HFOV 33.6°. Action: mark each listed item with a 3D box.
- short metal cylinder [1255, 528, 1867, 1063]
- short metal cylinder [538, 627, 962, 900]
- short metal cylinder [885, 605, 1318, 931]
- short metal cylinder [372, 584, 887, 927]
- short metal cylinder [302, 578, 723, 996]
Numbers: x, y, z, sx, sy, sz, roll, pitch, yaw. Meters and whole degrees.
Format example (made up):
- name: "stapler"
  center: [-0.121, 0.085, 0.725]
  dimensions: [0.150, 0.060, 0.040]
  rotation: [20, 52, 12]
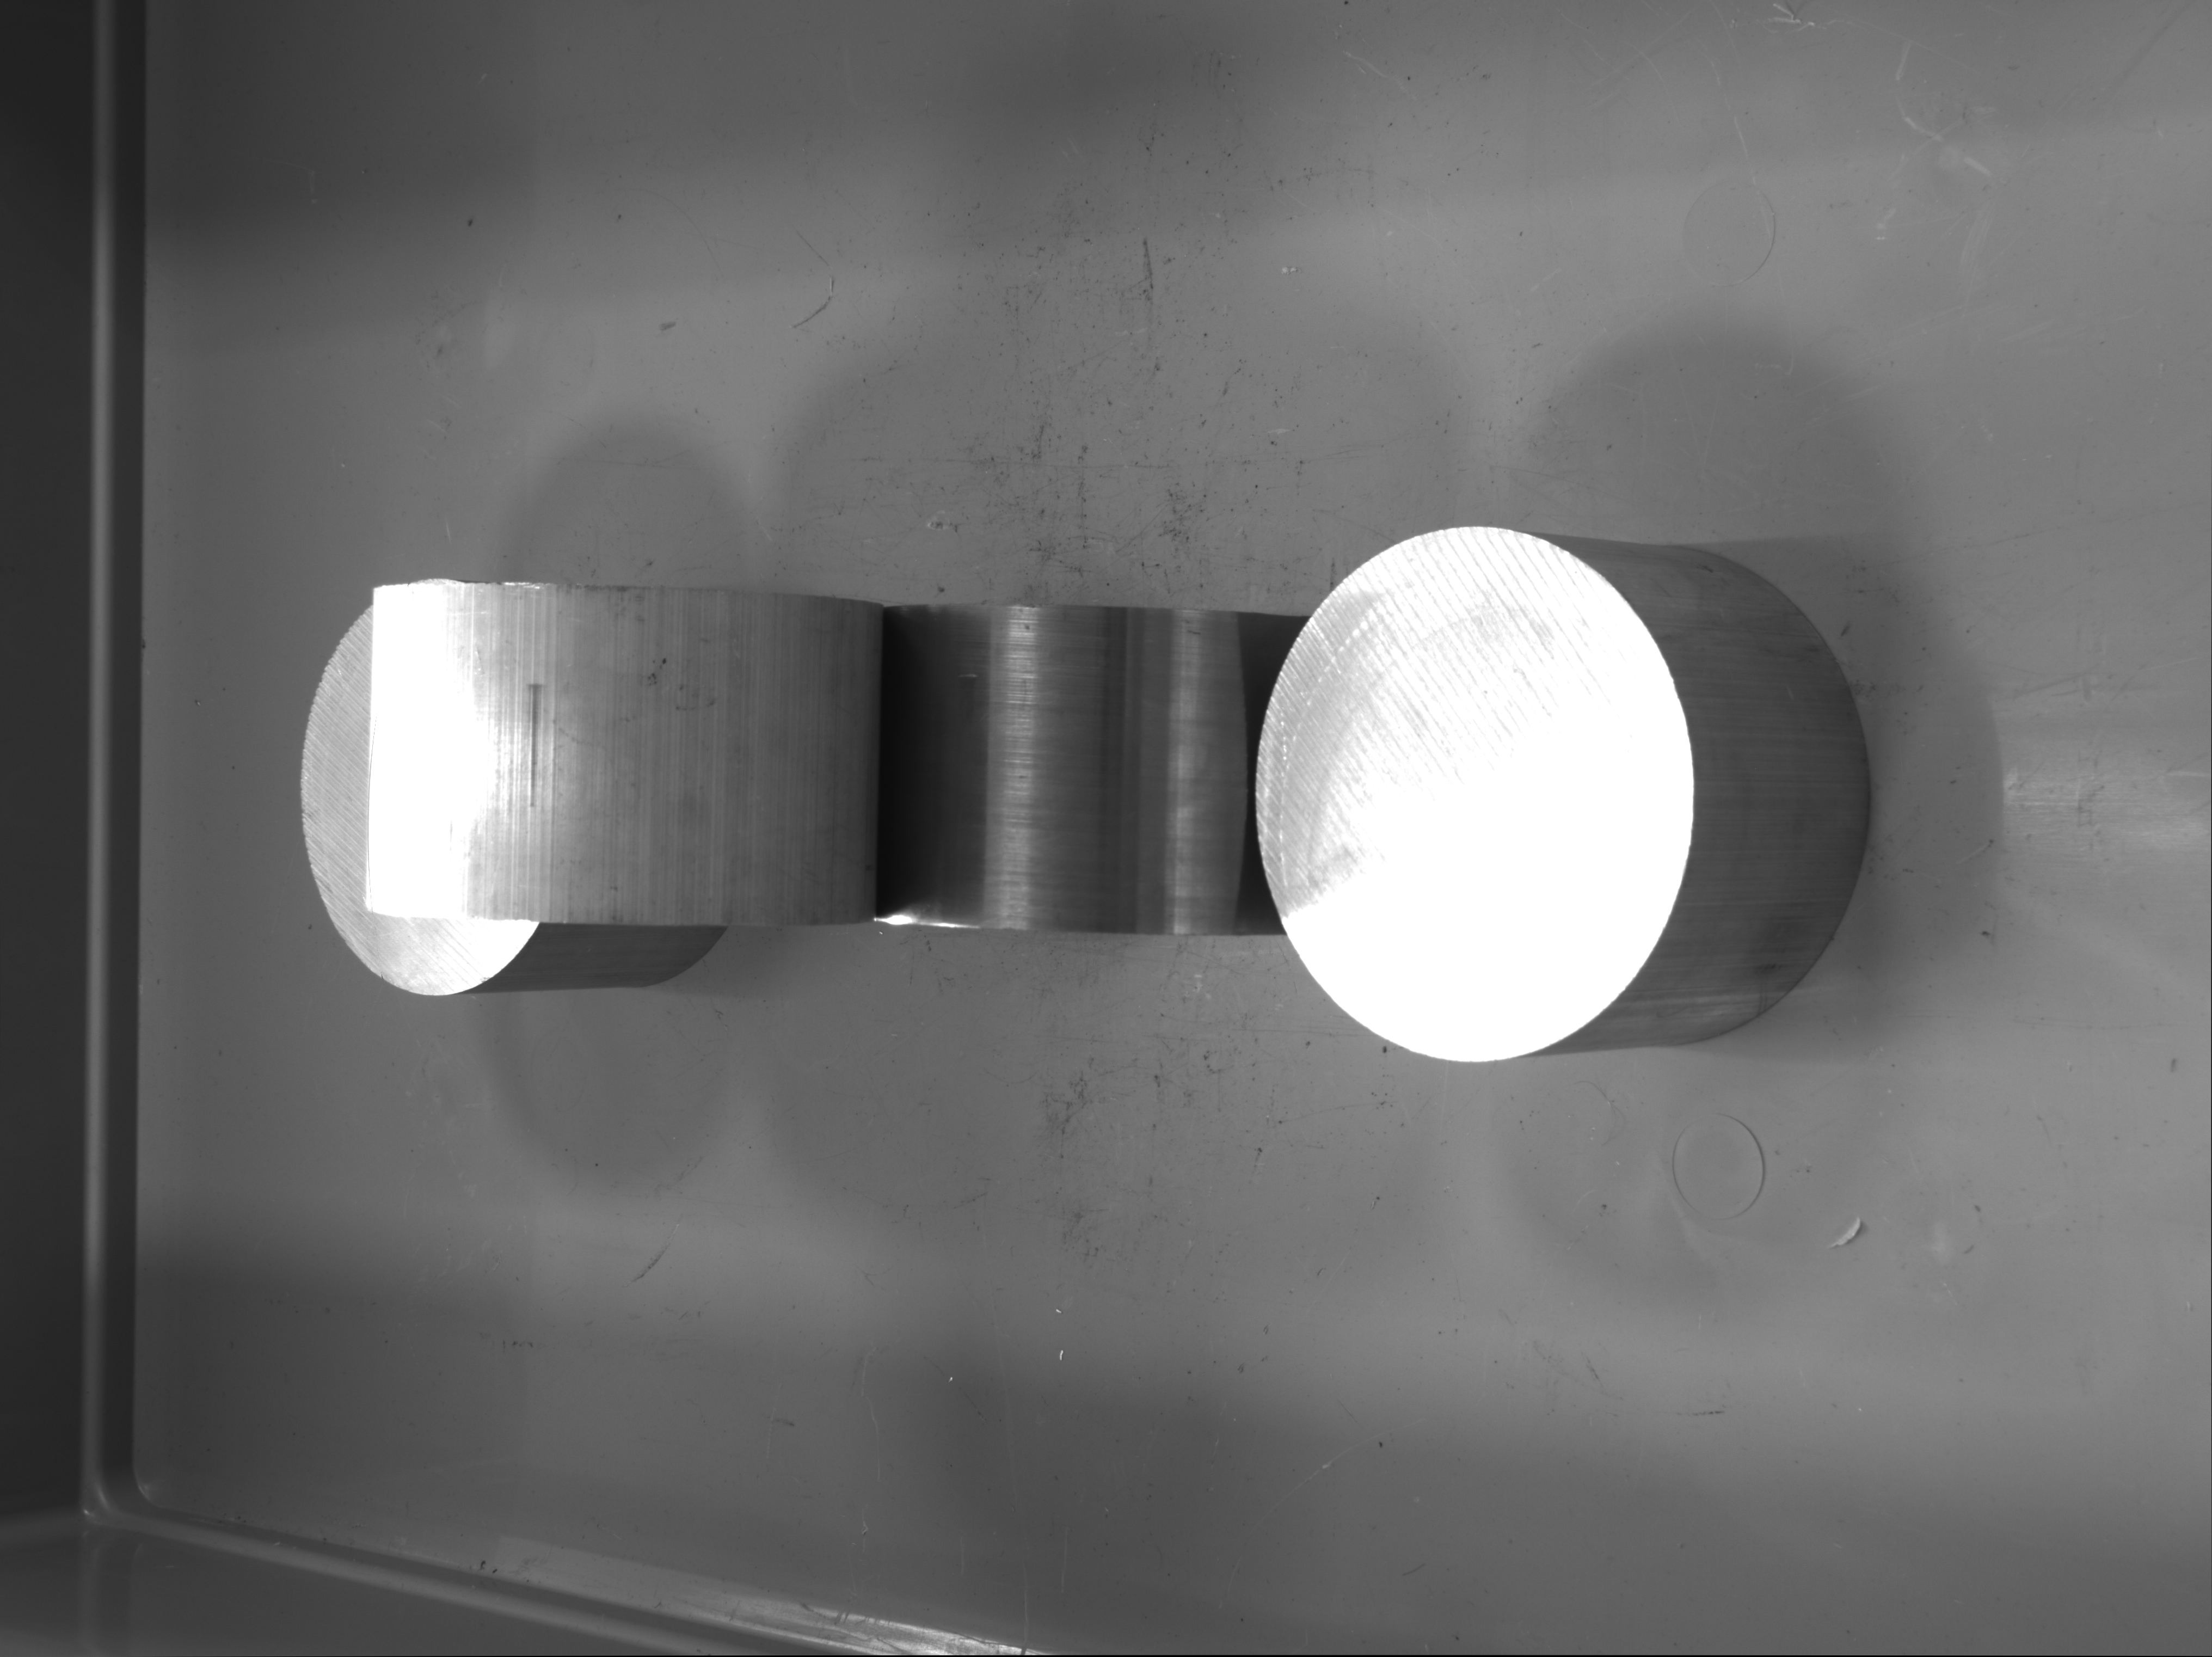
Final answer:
- name: "short metal cylinder"
  center: [0.070, -0.005, 0.568]
  dimensions: [0.080, 0.050, 0.080]
  rotation: [0, 90, 40]
- name: "short metal cylinder"
  center: [-0.062, -0.012, 0.659]
  dimensions: [0.080, 0.080, 0.050]
  rotation: [2, 91, 40]
- name: "short metal cylinder"
  center: [-0.001, -0.010, 0.607]
  dimensions: [0.080, 0.080, 0.050]
  rotation: [2, 91, 40]
- name: "short metal cylinder"
  center: [-0.075, -0.011, 0.581]
  dimensions: [0.080, 0.080, 0.050]
  rotation: [2, 91, 40]
- name: "short metal cylinder"
  center: [-0.113, -0.008, 0.722]
  dimensions: [0.080, 0.050, 0.080]
  rotation: [0, 90, 40]
